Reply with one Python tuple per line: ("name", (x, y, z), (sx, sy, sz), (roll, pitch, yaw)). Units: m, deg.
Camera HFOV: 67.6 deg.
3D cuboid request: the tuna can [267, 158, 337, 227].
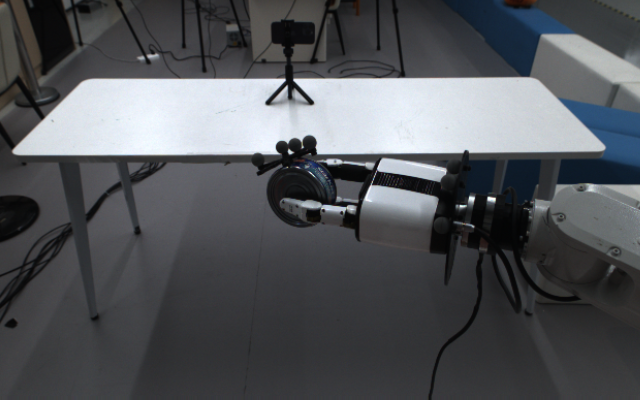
("tuna can", (-0.020, -0.003, 0.615), (0.085, 0.085, 0.034), (15, 29, 17))
